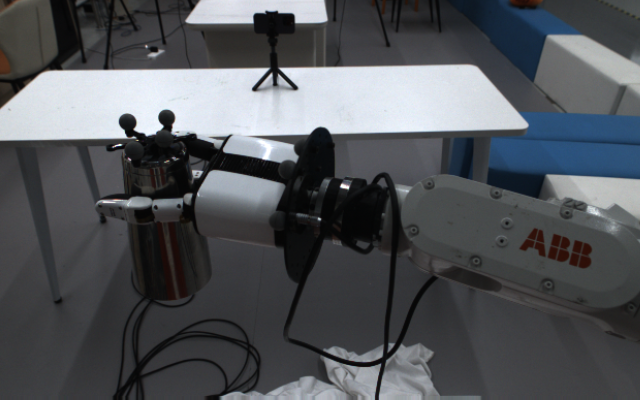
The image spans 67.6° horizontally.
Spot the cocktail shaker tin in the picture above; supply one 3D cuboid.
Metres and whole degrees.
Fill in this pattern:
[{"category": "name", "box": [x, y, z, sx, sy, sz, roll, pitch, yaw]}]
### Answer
[{"category": "cocktail shaker tin", "box": [-0.172, 0.017, 0.548, 0.093, 0.170, 0.093, 2, 33, -2]}]
